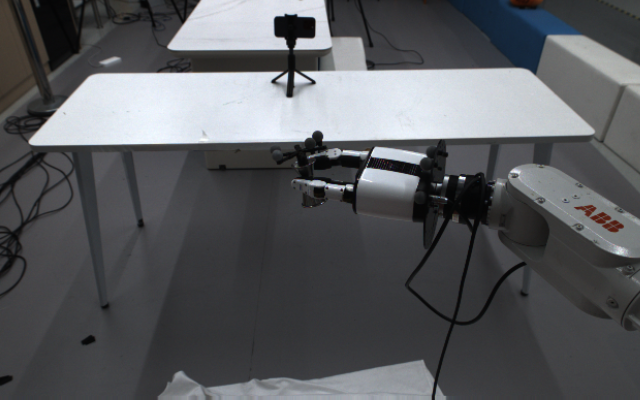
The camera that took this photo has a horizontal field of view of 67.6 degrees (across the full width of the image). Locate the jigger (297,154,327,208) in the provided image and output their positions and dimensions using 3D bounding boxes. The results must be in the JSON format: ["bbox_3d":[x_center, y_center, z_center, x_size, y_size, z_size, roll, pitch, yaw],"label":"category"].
[{"bbox_3d":[-0.016,-0.027,0.757,0.043,0.071,0.043,-14,21,6],"label":"jigger"}]
